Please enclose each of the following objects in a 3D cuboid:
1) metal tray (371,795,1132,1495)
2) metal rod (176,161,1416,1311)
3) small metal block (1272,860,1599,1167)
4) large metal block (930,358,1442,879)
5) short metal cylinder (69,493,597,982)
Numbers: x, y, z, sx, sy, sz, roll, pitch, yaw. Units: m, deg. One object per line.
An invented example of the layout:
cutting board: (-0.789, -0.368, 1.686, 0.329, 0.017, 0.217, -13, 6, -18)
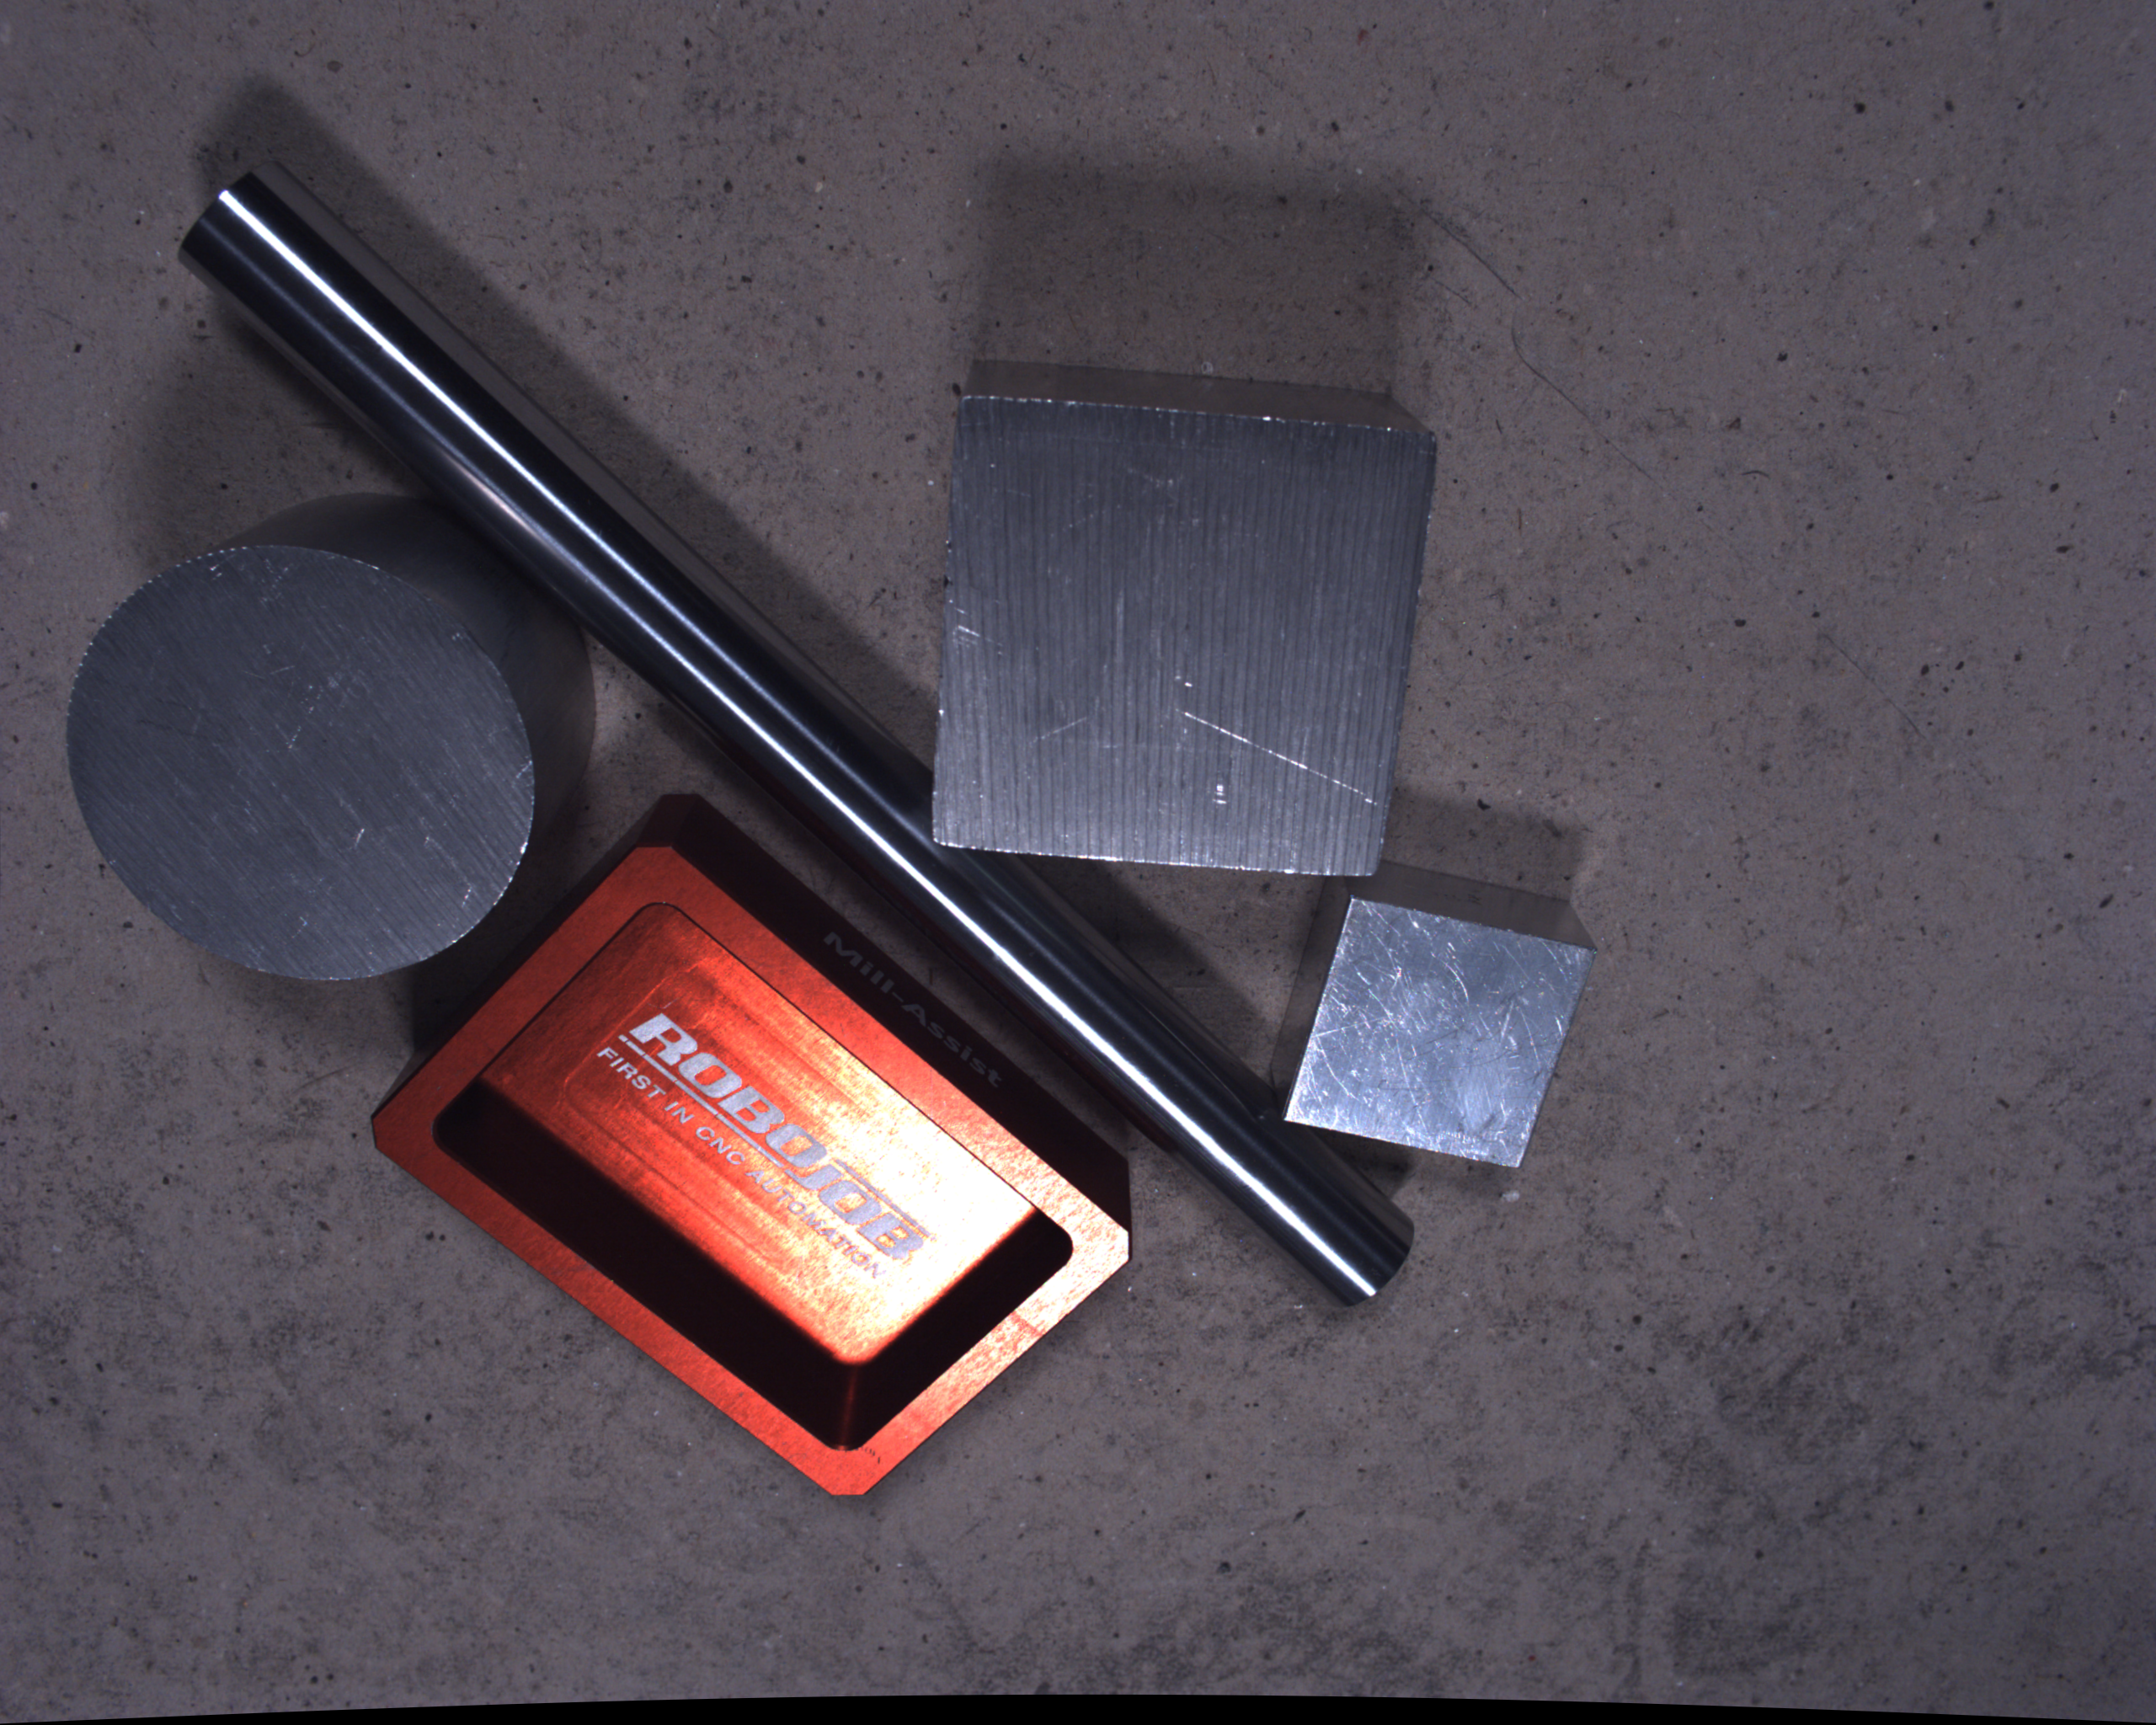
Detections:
metal tray: (-0.064, 0.060, 0.430, 0.130, 0.030, 0.090, 42, 104, -14)
metal rod: (-0.044, -0.014, 0.404, 0.025, 0.025, 0.300, -43, 105, 14)
small metal block: (0.071, 0.029, 0.423, 0.050, 0.025, 0.050, 12, 110, -5)
large metal block: (0.017, -0.046, 0.381, 0.081, 0.050, 0.079, 4, 110, -2)
short metal cylinder: (-0.135, -0.024, 0.387, 0.081, 0.050, 0.079, 0, 110, -1)
